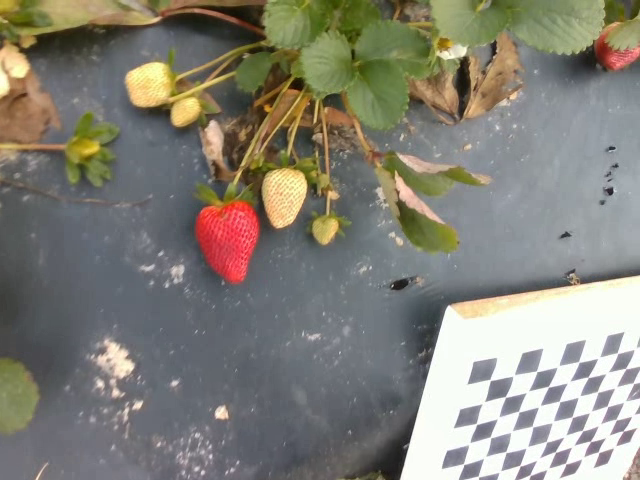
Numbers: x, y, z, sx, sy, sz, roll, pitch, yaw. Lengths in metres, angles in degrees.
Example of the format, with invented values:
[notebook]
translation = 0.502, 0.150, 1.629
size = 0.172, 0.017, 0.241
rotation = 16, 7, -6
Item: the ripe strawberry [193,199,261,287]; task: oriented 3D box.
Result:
[ripe strawberry]
translation = -0.058, 0.000, 0.392
size = 0.050, 0.059, 0.034
rotation = -14, -15, -15
